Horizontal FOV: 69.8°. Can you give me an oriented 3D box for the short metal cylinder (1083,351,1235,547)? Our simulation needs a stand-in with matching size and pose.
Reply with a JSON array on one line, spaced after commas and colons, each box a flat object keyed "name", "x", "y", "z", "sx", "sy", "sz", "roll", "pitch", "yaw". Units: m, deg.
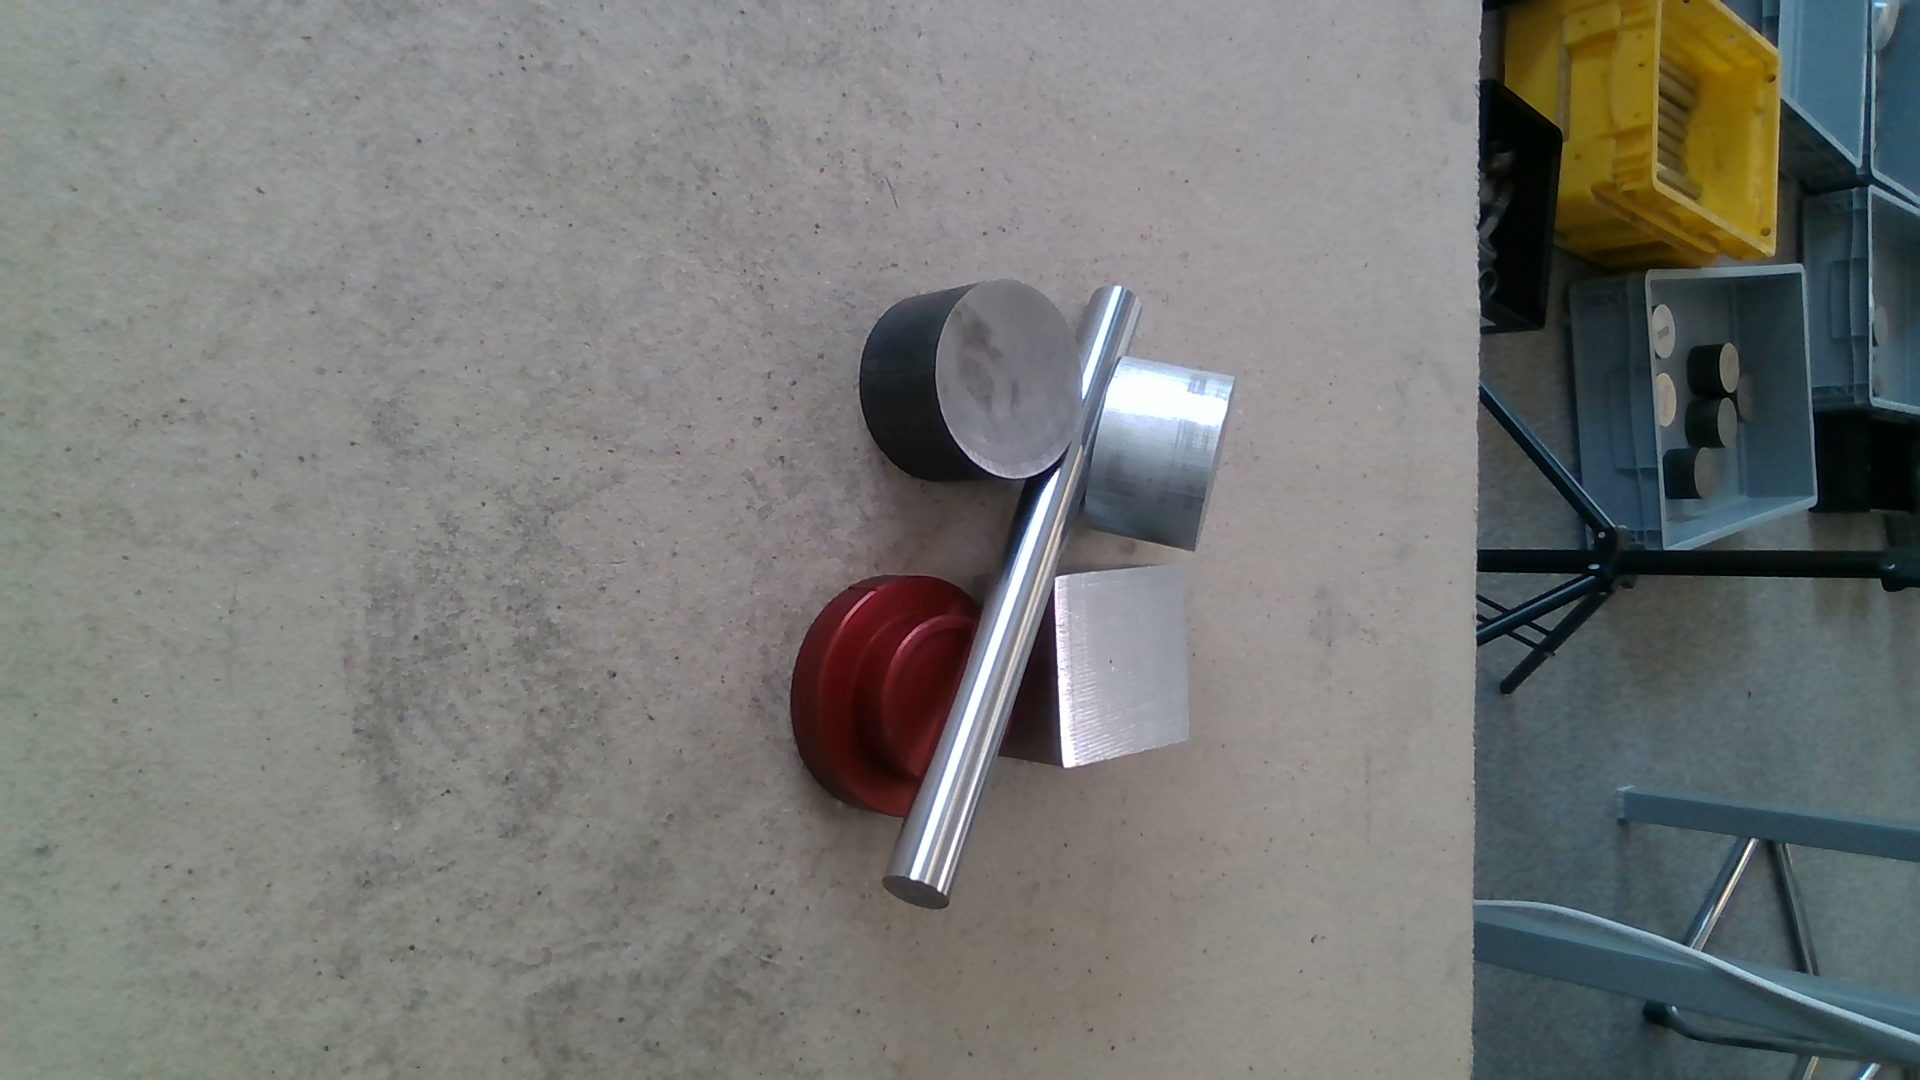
[{"name": "short metal cylinder", "x": 0.090, "y": -0.040, "z": 0.618, "sx": 0.080, "sy": 0.050, "sz": 0.080, "roll": 15, "pitch": 89, "yaw": -79}]

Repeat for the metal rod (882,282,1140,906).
[{"name": "metal rod", "x": 0.029, "y": 0.005, "z": 0.564, "sx": 0.025, "sy": 0.025, "sz": 0.299, "roll": 44, "pitch": 50, "yaw": -31}]

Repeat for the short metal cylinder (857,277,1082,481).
[{"name": "short metal cylinder", "x": 0.004, "y": -0.065, "z": 0.572, "sx": 0.080, "sy": 0.050, "sz": 0.080, "roll": 0, "pitch": 90, "yaw": -40}]

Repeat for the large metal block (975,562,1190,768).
[{"name": "large metal block", "x": 0.055, "y": 0.052, "z": 0.611, "sx": 0.080, "sy": 0.050, "sz": 0.080, "roll": -4, "pitch": 93, "yaw": -40}]

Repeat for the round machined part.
[{"name": "round machined part", "x": -0.017, "y": 0.063, "z": 0.558, "sx": 0.098, "sy": 0.042, "sz": 0.098, "roll": 0, "pitch": 90, "yaw": -40}]
